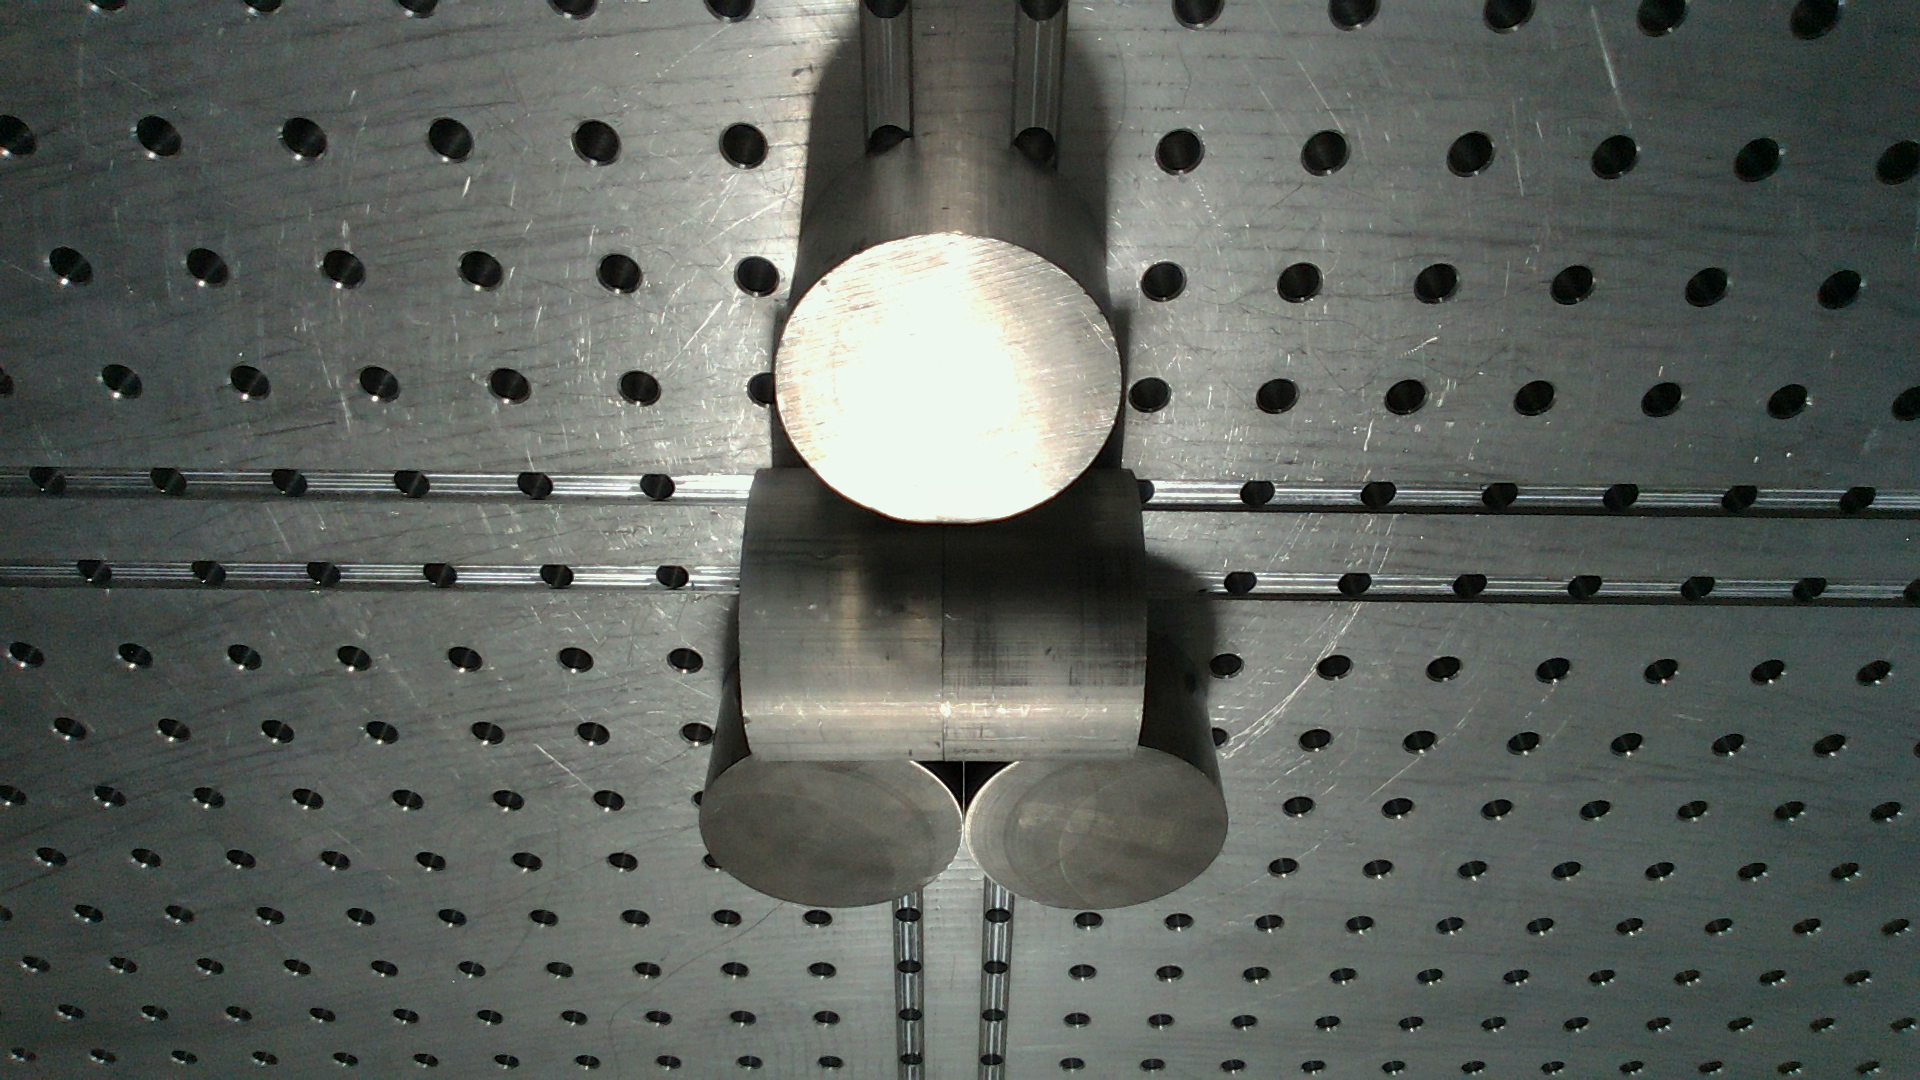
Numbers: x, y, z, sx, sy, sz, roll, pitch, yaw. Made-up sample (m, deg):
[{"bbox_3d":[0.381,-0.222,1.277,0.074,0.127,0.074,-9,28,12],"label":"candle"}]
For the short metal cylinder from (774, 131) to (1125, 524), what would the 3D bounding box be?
[{"bbox_3d":[-0.002,-0.051,0.334,0.080,0.050,0.080,0,130,0],"label":"short metal cylinder"}]

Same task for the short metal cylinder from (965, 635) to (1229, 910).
[{"bbox_3d":[0.042,0.073,0.437,0.080,0.050,0.080,0,130,0],"label":"short metal cylinder"}]

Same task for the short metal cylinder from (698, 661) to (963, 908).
[{"bbox_3d":[-0.039,0.072,0.437,0.080,0.050,0.080,0,130,0],"label":"short metal cylinder"}]

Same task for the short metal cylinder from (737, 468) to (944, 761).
[{"bbox_3d":[-0.029,0.020,0.375,0.050,0.080,0.080,0,130,0],"label":"short metal cylinder"}]

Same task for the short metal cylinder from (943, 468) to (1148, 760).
[{"bbox_3d":[0.021,0.019,0.375,0.050,0.080,0.080,0,130,0],"label":"short metal cylinder"}]
